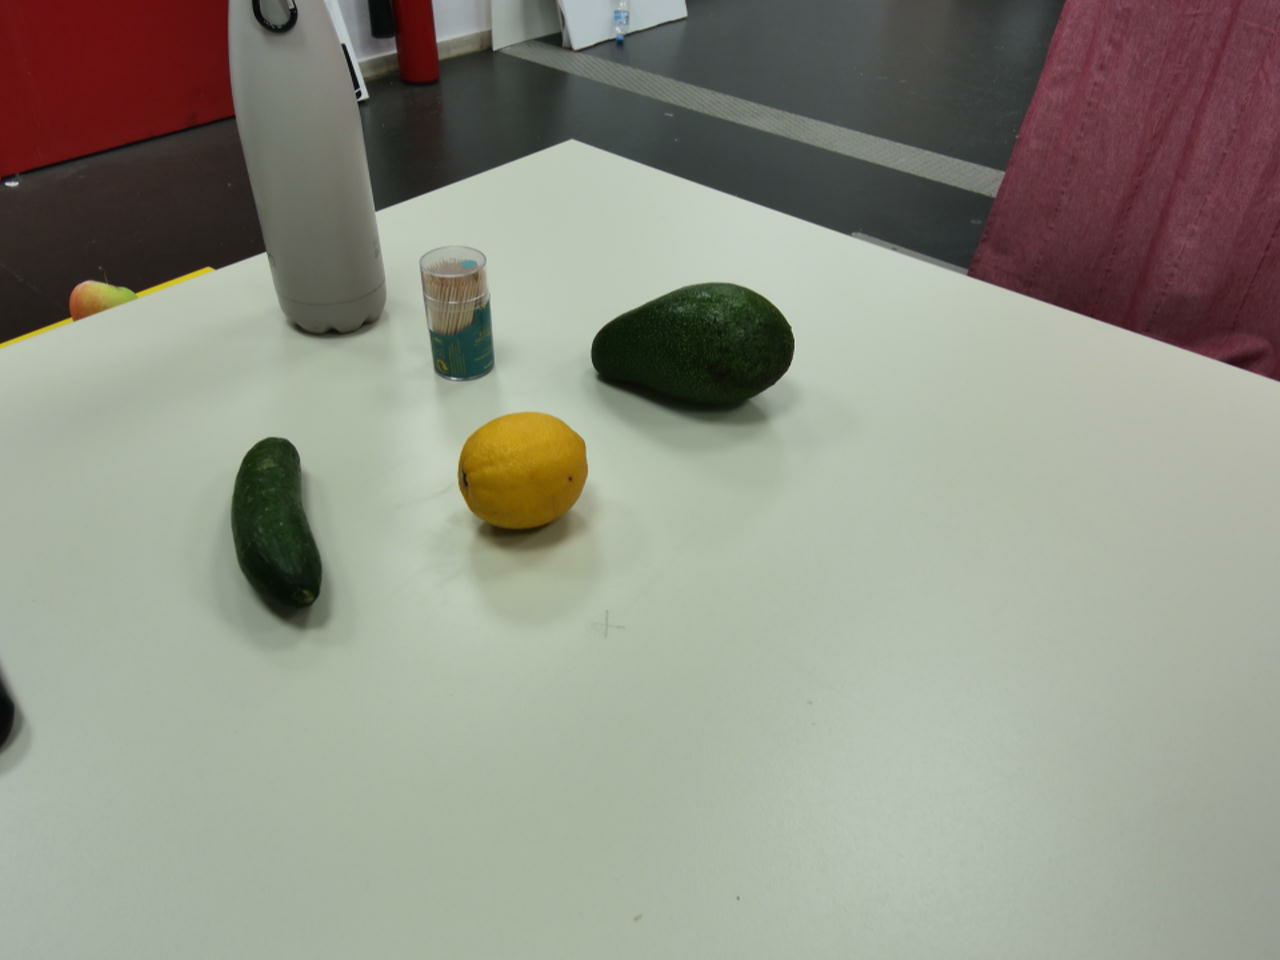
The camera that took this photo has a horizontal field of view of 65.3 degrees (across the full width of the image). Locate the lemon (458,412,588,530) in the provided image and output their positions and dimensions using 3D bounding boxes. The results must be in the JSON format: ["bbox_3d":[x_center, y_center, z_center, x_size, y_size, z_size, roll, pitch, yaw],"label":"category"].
[{"bbox_3d":[-0.060,-0.004,0.513,0.067,0.059,0.060,-4,37,-7],"label":"lemon"}]
